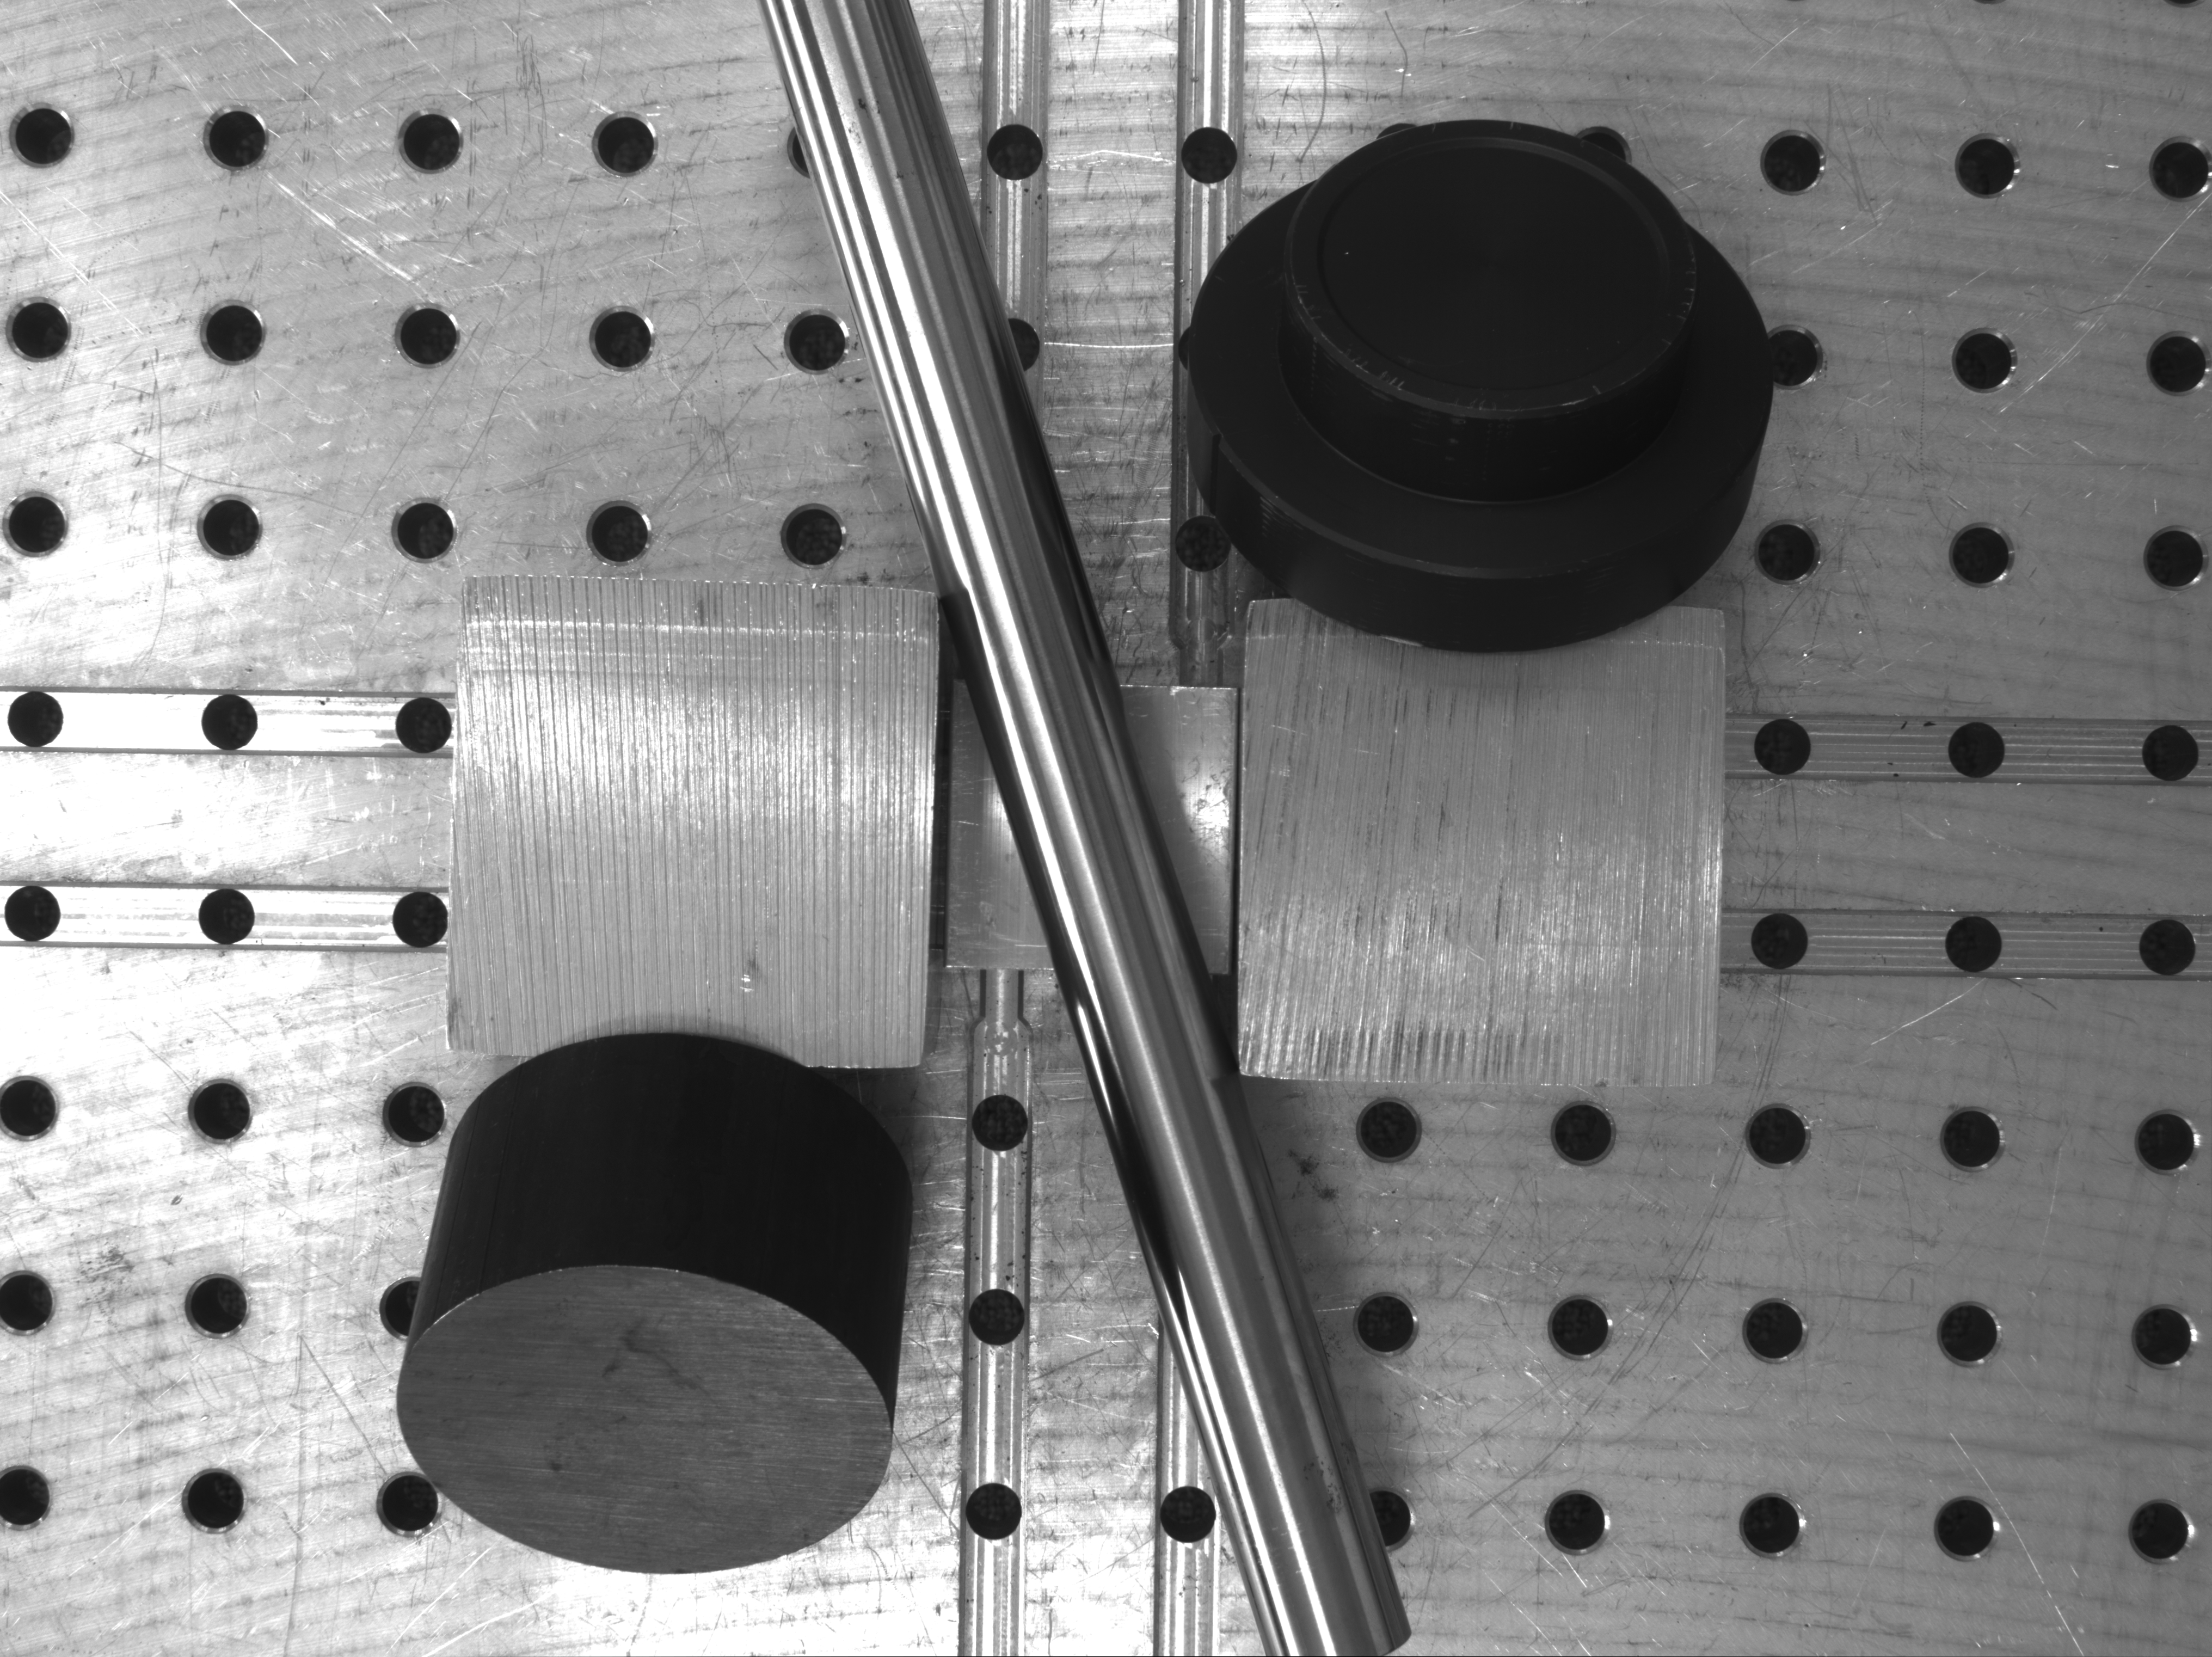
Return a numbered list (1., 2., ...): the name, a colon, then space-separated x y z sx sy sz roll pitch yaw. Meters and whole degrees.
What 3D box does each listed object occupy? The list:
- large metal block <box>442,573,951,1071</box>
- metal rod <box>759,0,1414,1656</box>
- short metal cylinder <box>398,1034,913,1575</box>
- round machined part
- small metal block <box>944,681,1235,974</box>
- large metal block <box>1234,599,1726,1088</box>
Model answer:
1. large metal block: -0.069 -0.001 0.637 0.080 0.050 0.080 2 90 0
2. metal rod: -0.004 -0.003 0.622 0.025 0.025 0.300 -17 90 0
3. short metal cylinder: -0.074 0.080 0.614 0.080 0.050 0.080 1 133 1
4. round machined part: 0.063 -0.080 0.615 0.098 0.042 0.098 0 55 0
5. small metal block: -0.003 0.000 0.649 0.050 0.025 0.050 1 90 0
6. large metal block: 0.063 0.003 0.637 0.080 0.050 0.080 1 90 0
